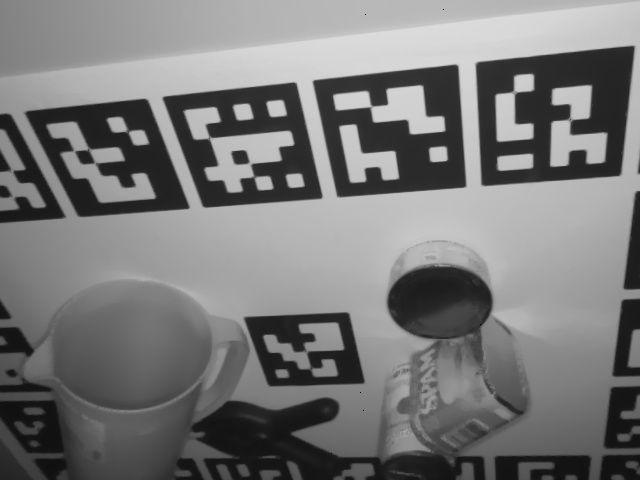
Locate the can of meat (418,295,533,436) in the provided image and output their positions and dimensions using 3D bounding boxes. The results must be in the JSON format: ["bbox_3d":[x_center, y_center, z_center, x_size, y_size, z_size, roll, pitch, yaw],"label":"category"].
[{"bbox_3d":[0.137,0.106,0.606,0.082,0.103,0.058,-37,112,25],"label":"can of meat"}]

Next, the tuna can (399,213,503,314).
[{"bbox_3d":[0.111,0.020,0.593,0.085,0.034,0.085,3,124,6],"label":"tuna can"}]

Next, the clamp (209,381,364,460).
[{"bbox_3d":[-0.039,0.191,0.747,0.164,0.037,0.121,1,130,12],"label":"clamp"}]

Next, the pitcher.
[{"bbox_3d":[-0.173,0.142,0.654,0.191,0.134,0.239,1,136,-20],"label":"pitcher"}]

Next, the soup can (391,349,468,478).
[{"bbox_3d":[0.101,0.161,0.655,0.068,0.103,0.067,2,124,4],"label":"soup can"}]
